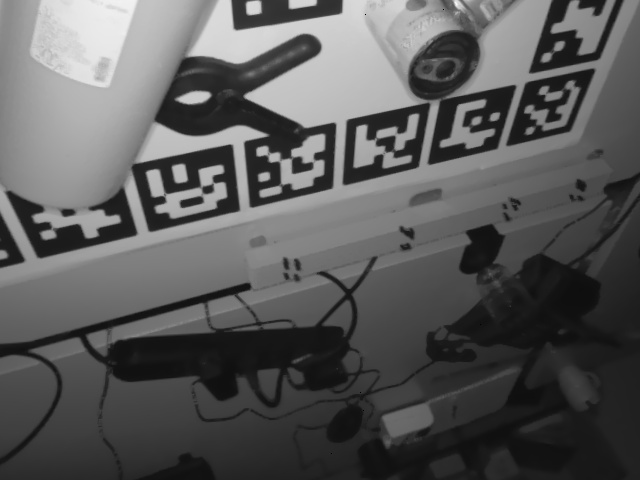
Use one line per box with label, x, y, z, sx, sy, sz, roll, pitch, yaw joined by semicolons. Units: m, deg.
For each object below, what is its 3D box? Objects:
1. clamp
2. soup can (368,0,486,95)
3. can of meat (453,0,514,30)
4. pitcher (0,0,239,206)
clamp;-0.068;-0.141;0.658;0.166;0.036;0.120;-11;144;-13
soup can;0.094;-0.188;0.628;0.068;0.102;0.067;-17;140;-14
can of meat;0.141;-0.241;0.585;0.083;0.102;0.058;-40;139;12
pitcher;-0.154;-0.141;0.509;0.192;0.133;0.238;-21;156;-43
